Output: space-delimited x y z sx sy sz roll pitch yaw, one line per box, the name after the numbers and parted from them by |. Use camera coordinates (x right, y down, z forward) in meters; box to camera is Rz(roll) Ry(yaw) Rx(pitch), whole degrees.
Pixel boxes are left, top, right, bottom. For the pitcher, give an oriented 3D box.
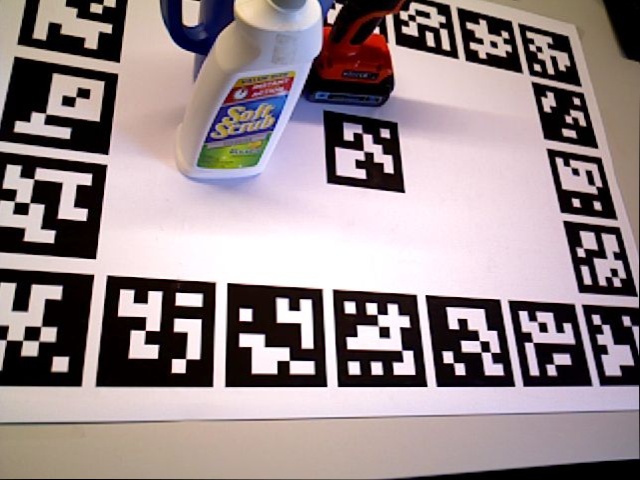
-0.054 -0.233 0.511 0.185 0.247 0.133 -23 80 -26 | pitcher

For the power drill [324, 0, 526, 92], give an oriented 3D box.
0.099 -0.234 0.578 0.182 0.191 0.057 1 72 -26 | power drill

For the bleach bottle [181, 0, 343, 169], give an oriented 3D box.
-0.052 -0.147 0.456 0.101 0.256 0.067 -3 71 -21 | bleach bottle
